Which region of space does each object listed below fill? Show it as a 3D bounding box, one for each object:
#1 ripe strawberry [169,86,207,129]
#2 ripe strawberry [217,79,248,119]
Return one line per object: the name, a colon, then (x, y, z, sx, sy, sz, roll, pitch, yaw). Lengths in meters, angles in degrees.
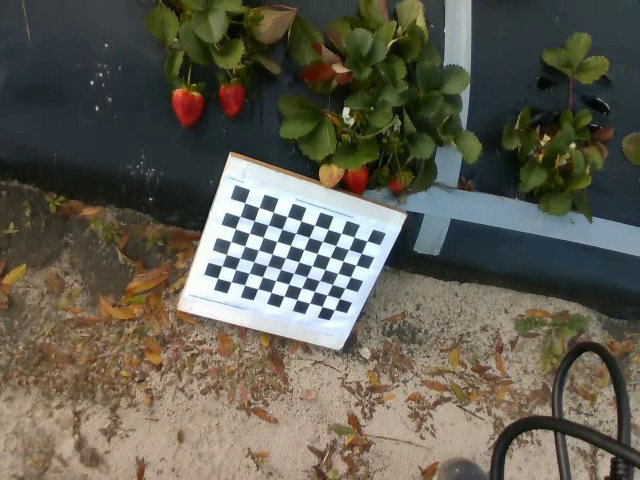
ripe strawberry: (-0.194, -0.191, 0.869, 0.050, 0.061, 0.045, 8, -12, -8)
ripe strawberry: (-0.130, -0.208, 0.878, 0.042, 0.053, 0.034, 3, -8, -5)
